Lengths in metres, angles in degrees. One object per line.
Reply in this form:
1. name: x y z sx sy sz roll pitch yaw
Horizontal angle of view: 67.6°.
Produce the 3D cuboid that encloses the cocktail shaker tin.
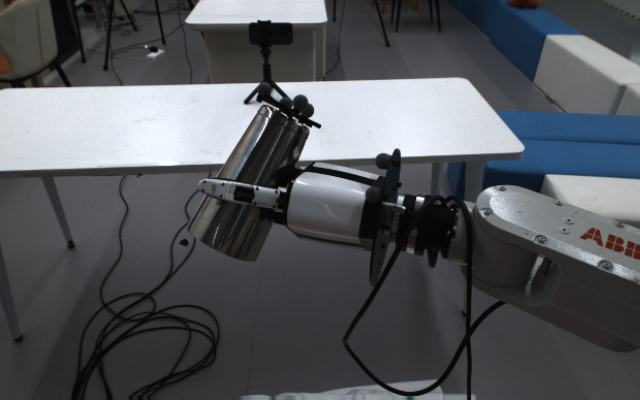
1. cocktail shaker tin: -0.078 -0.025 0.582 0.093 0.170 0.093 27 2 -1
